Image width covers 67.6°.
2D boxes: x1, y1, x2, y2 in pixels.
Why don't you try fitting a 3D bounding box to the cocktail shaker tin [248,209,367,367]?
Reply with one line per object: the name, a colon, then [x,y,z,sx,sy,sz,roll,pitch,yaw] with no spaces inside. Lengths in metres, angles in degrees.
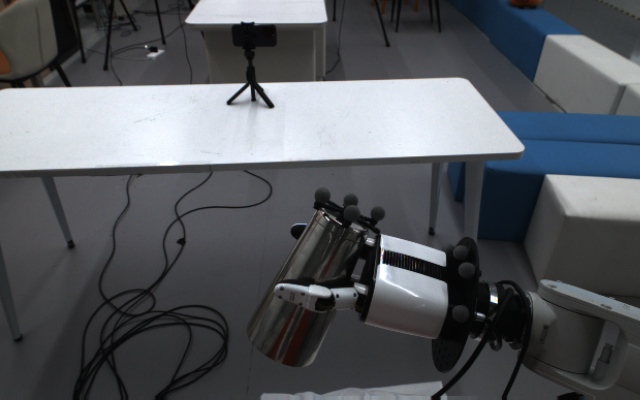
cocktail shaker tin: [-0.007,0.095,0.566,0.093,0.170,0.093,24,12,-6]
